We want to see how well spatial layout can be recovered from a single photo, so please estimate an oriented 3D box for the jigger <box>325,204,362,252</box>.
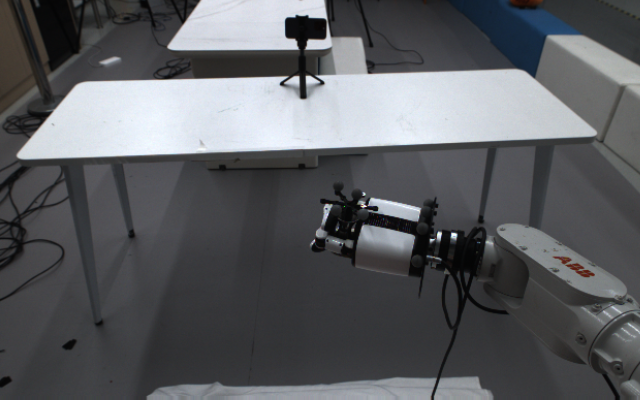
[{"bbox_3d":[0.040,0.050,0.769,0.043,0.071,0.043,7,32,-4],"label":"jigger"}]
